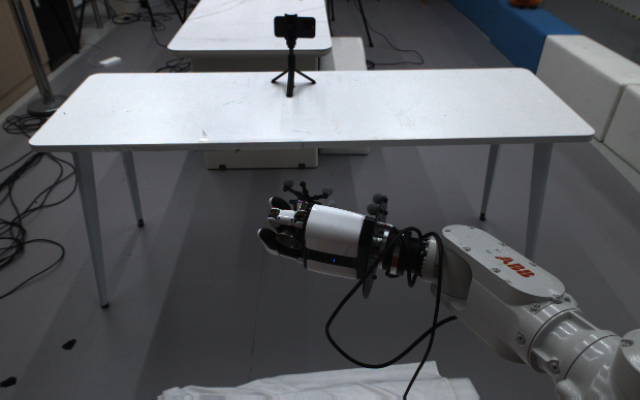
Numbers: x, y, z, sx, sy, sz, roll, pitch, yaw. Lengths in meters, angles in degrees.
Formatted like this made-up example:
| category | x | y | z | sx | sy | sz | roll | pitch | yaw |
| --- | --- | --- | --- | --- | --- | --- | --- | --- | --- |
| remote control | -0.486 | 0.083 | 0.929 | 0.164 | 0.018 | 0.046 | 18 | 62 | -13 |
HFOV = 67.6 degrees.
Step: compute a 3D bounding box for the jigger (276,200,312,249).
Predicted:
| category | x | y | z | sx | sy | sz | roll | pitch | yaw |
| --- | --- | --- | --- | --- | --- | --- | --- | --- | --- |
| jigger | -0.035 | 0.038 | 0.771 | 0.043 | 0.043 | 0.071 | 13 | 58 | 16 |
